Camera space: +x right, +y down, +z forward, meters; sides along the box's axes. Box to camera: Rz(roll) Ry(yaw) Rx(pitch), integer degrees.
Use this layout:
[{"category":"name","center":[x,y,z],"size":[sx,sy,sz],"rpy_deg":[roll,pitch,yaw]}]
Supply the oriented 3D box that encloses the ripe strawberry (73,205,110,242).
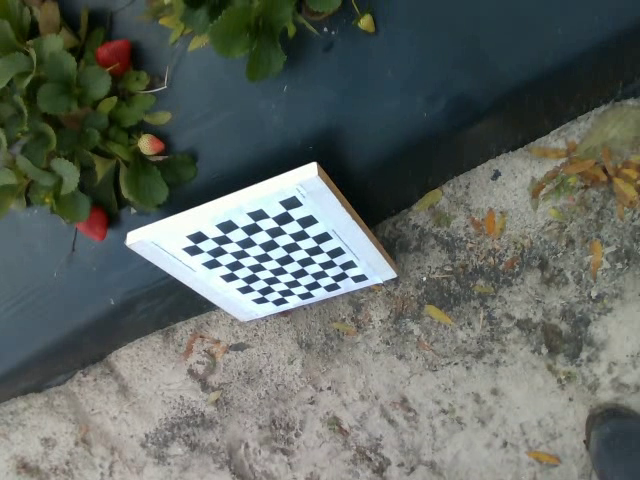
[{"category":"ripe strawberry","center":[-0.247,-0.021,0.660],"size":[0.037,0.046,0.037],"rpy_deg":[-33,-11,-33]}]
